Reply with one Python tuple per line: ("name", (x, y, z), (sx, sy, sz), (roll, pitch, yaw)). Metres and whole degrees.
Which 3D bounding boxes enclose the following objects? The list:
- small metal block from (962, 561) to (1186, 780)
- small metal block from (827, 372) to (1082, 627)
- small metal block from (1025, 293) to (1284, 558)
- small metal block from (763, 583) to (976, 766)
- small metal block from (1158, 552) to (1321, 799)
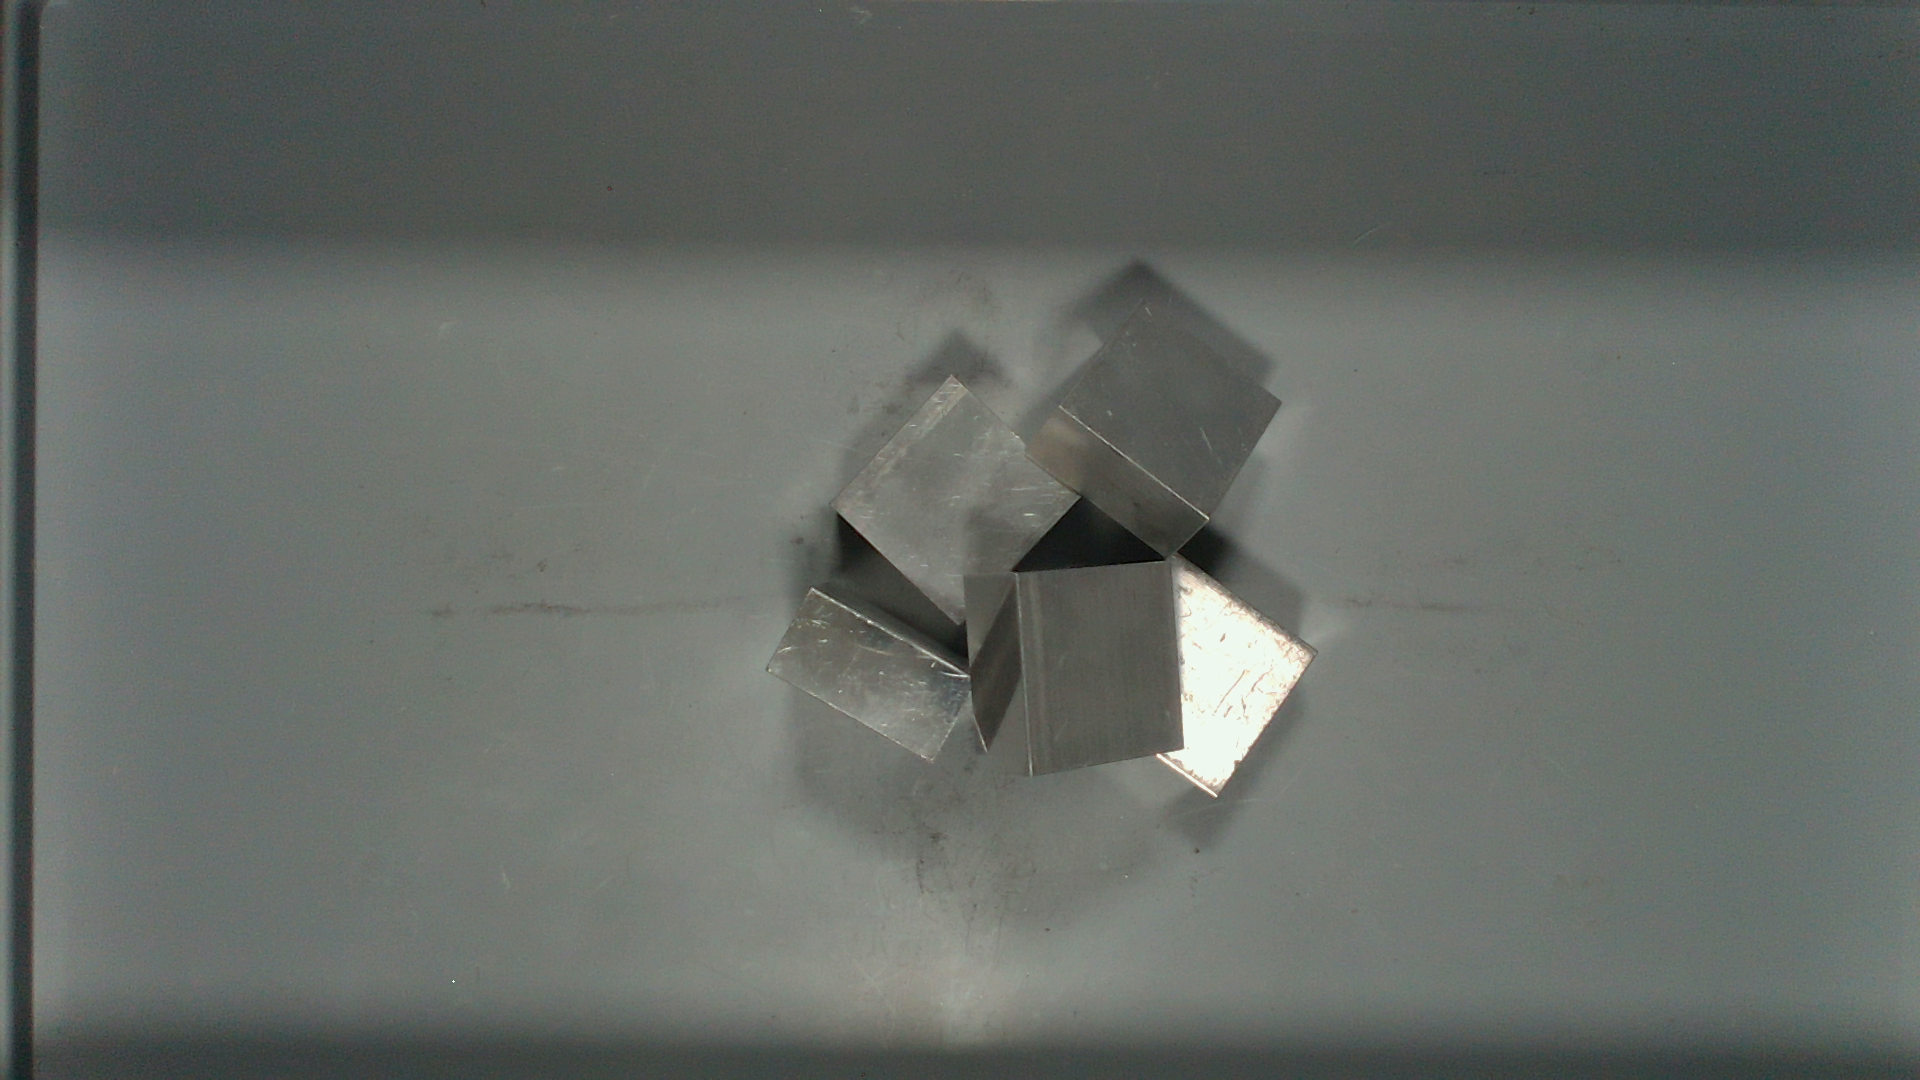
("small metal block", (0.030, 0.032, 0.358), (0.050, 0.025, 0.050), (-4, 90, -32))
("small metal block", (-0.001, -0.011, 0.393), (0.050, 0.025, 0.050), (43, 90, 0))
("small metal block", (0.055, -0.032, 0.383), (0.050, 0.025, 0.050), (37, 57, 0))
("small metal block", (-0.023, 0.035, 0.381), (0.050, 0.050, 0.025), (29, 90, 0))
("small metal block", (0.066, 0.037, 0.394), (0.050, 0.025, 0.050), (35, 90, 0))
